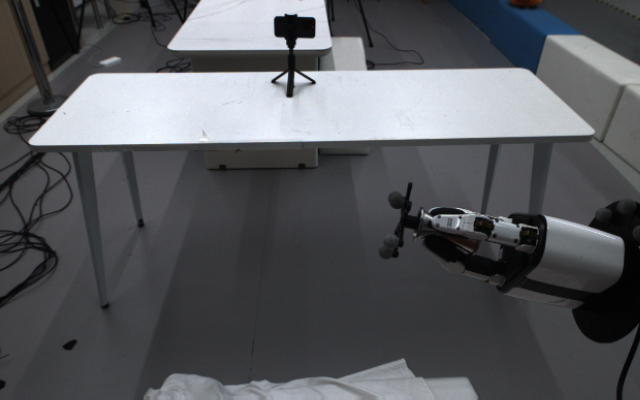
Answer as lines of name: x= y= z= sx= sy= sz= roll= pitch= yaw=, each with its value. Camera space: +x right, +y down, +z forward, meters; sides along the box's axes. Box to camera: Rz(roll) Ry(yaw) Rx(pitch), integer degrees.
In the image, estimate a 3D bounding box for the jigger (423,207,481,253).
jigger: x=0.150 y=0.031 z=0.550 sx=0.071 sy=0.043 sz=0.043 roll=13 pitch=36 yaw=3
